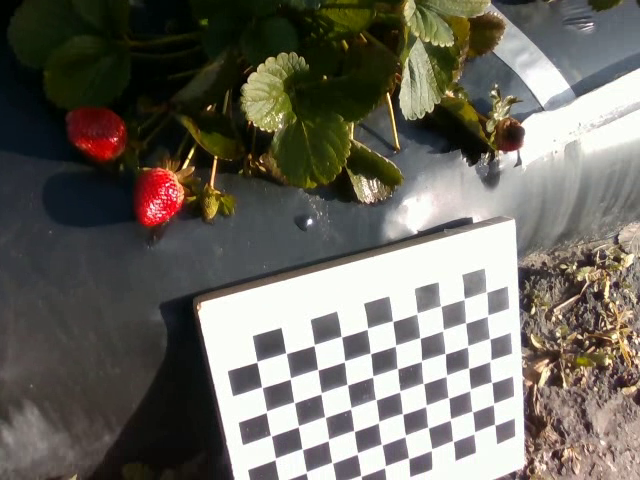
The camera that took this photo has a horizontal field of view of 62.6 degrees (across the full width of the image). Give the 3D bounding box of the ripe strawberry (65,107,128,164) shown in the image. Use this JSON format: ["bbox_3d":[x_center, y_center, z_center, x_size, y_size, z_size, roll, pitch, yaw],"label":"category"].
[{"bbox_3d":[-0.171,-0.085,0.418,0.054,0.048,0.039,0,10,-43],"label":"ripe strawberry"}]

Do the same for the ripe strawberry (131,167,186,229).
[{"bbox_3d":[-0.126,-0.032,0.407,0.043,0.053,0.038,33,-42,-21],"label":"ripe strawberry"}]
